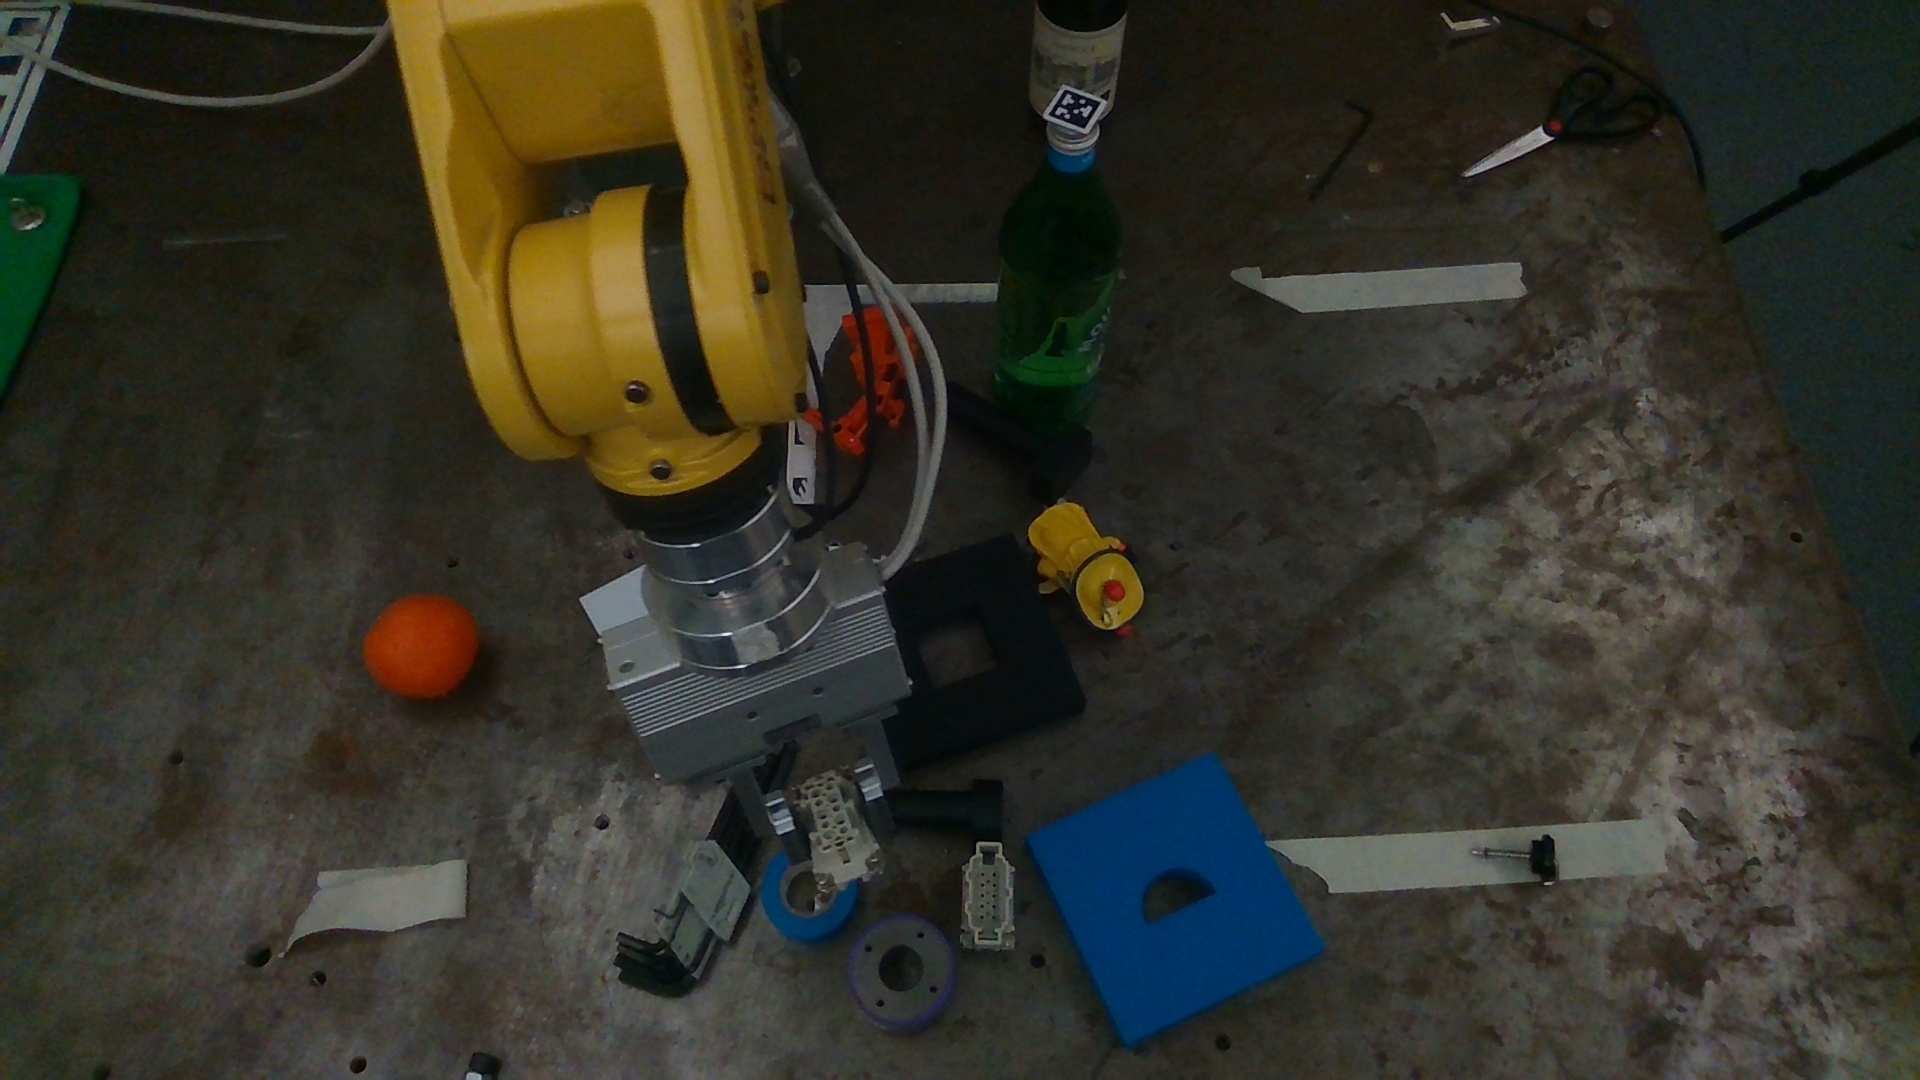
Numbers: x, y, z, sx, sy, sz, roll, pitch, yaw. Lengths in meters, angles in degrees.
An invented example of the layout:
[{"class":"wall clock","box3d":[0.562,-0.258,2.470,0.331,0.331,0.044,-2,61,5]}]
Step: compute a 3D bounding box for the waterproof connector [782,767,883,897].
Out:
[{"class":"waterproof connector","box3d":[-0.066,0.146,0.702,0.037,0.038,0.069,-25,43,-2]}]
